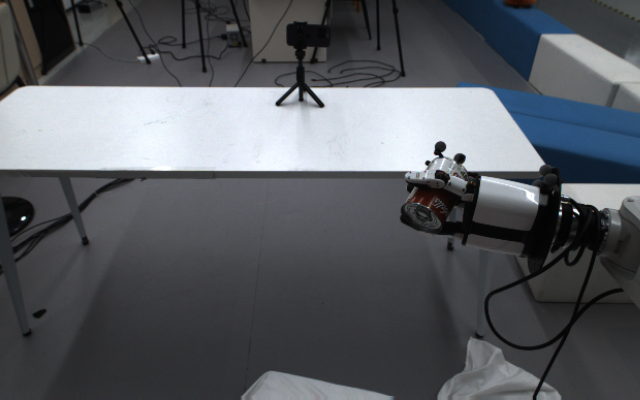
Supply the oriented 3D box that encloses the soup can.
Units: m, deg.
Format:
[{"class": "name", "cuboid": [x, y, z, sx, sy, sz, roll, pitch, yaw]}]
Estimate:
[{"class": "soup can", "cuboid": [0.179, -0.010, 0.741, 0.067, 0.067, 0.101, 22, 61, 26]}]
